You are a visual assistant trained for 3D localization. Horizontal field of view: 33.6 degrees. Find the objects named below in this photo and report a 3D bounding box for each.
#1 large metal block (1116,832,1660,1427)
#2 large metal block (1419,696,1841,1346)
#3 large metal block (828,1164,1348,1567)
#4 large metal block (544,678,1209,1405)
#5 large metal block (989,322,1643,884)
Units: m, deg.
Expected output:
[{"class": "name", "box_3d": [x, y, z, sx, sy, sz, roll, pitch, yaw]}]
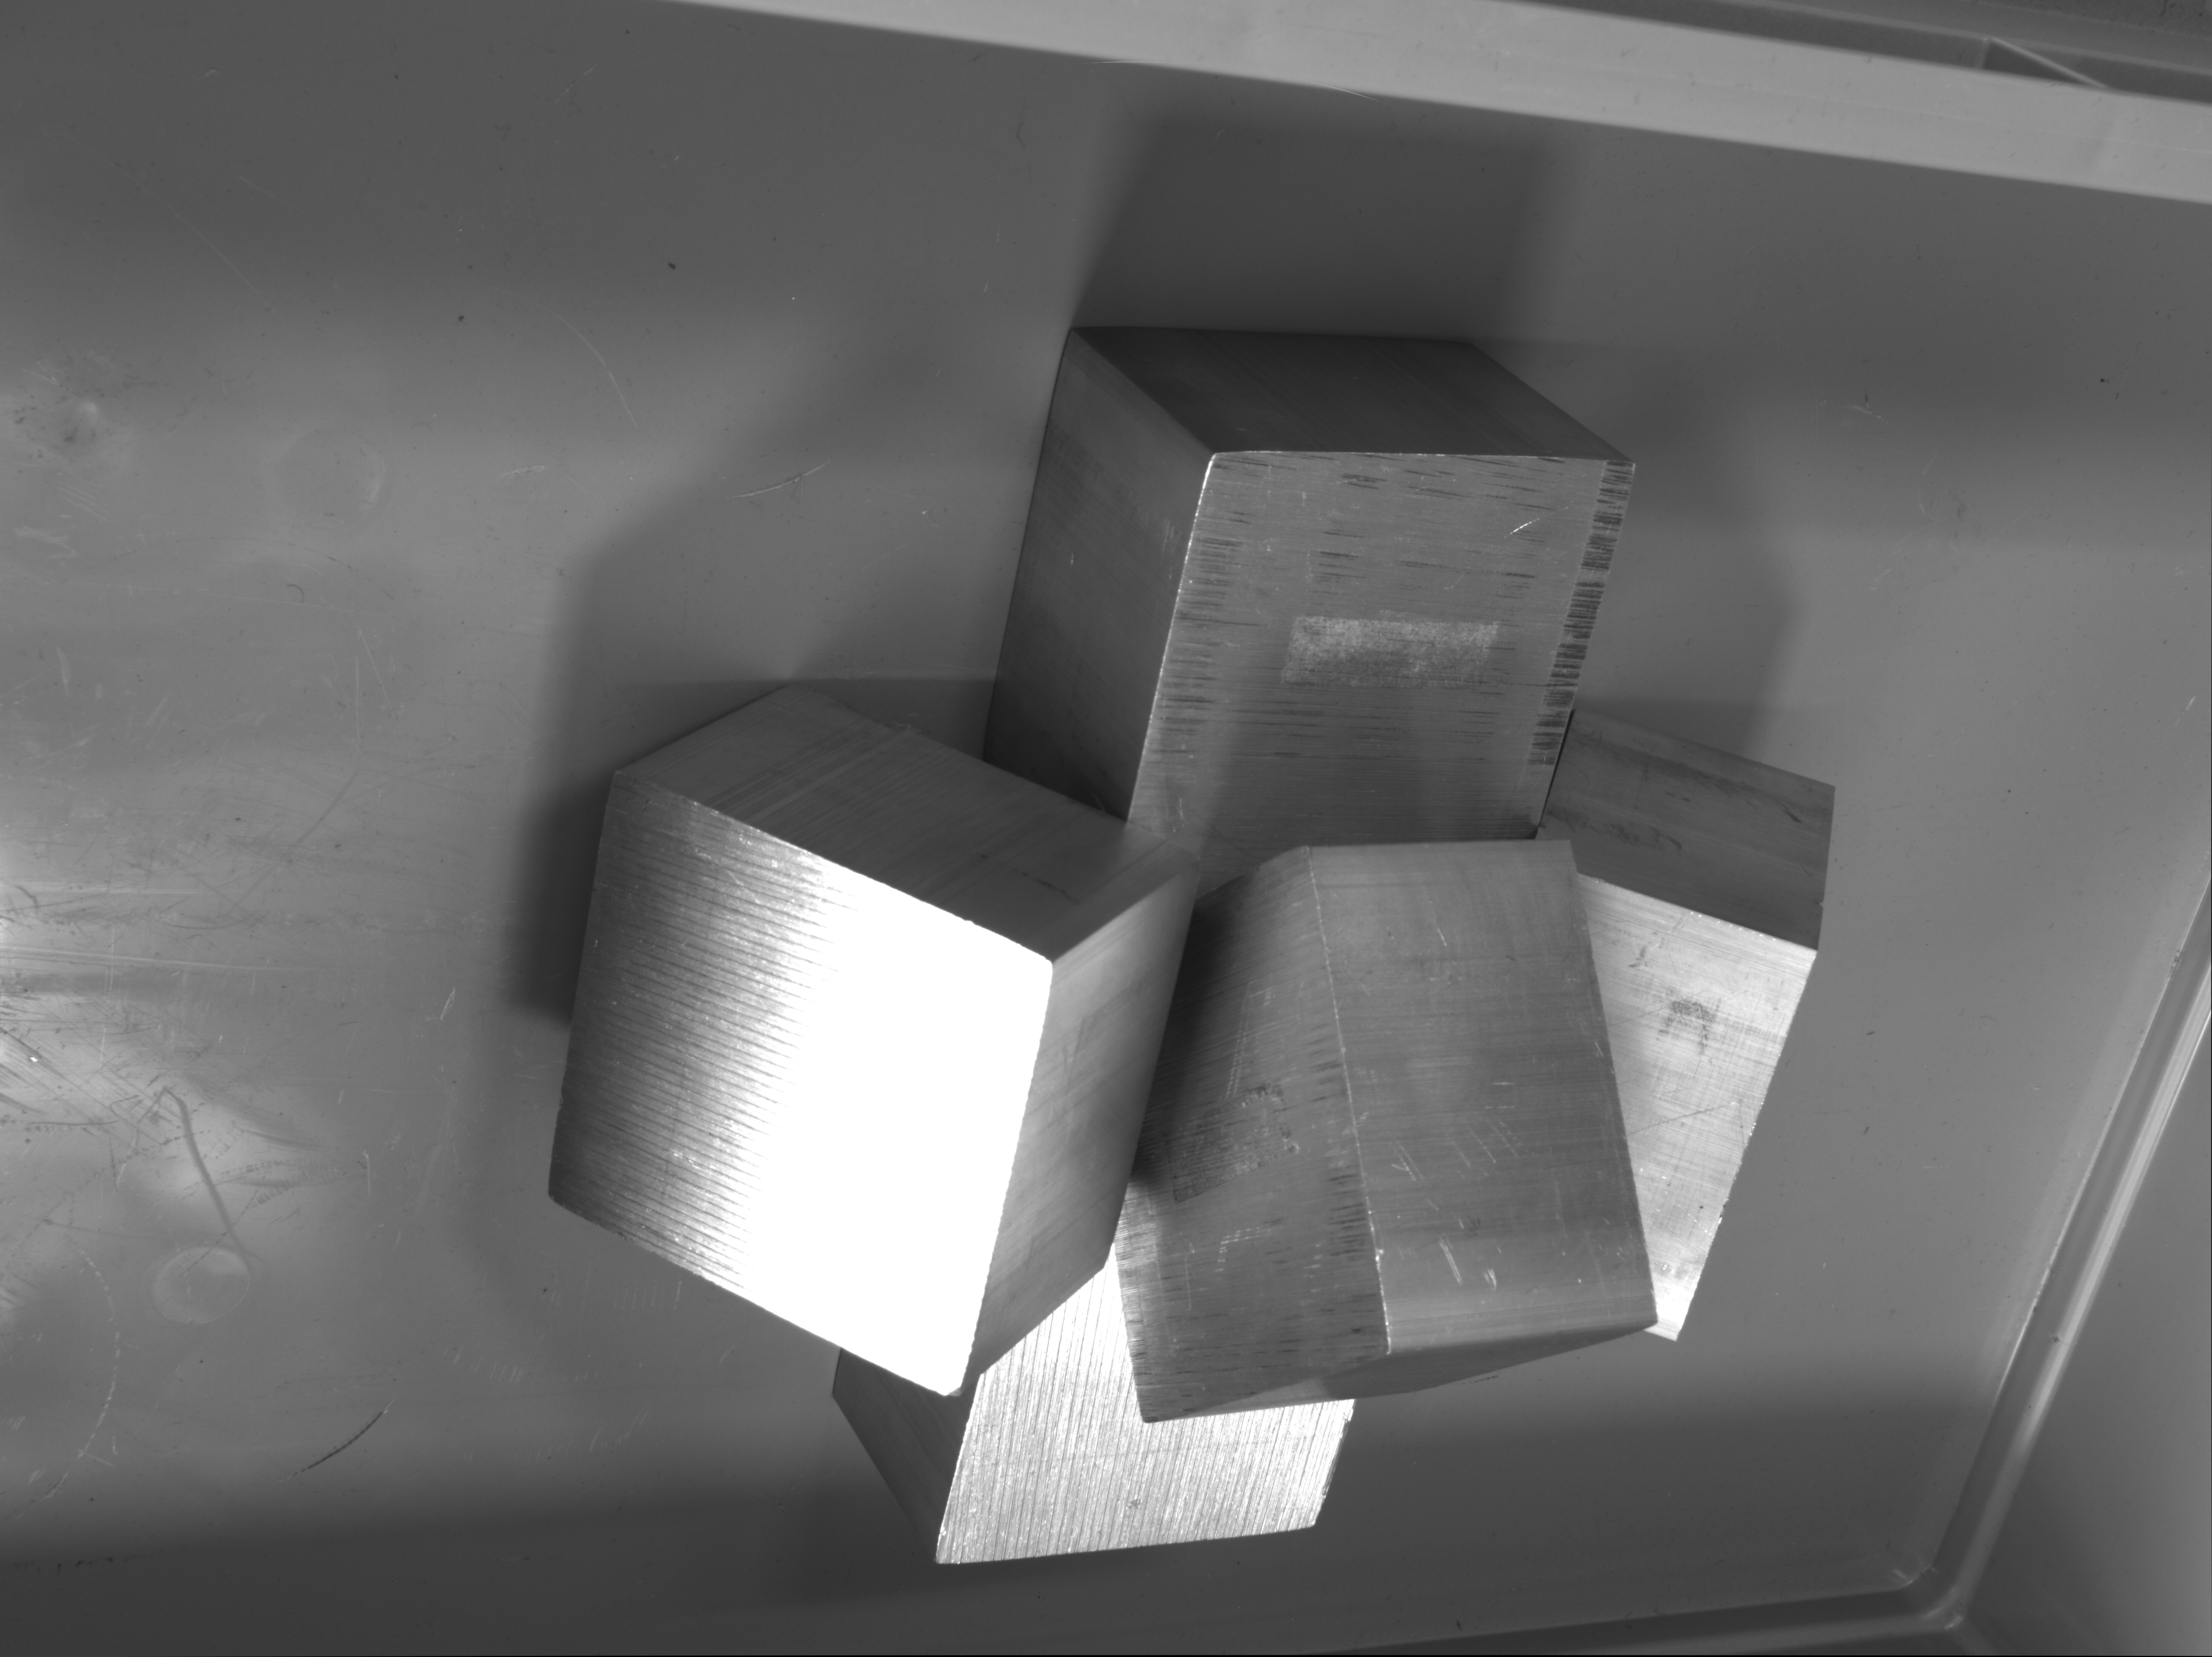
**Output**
[{"class": "large metal block", "box_3d": [0.040, 0.050, 0.602, 0.050, 0.080, 0.080, -1, 75, -29]}, {"class": "large metal block", "box_3d": [0.094, 0.033, 0.662, 0.050, 0.080, 0.080, 18, 115, 6]}, {"class": "large metal block", "box_3d": [0.003, 0.084, 0.673, 0.080, 0.050, 0.080, 1, 118, -29]}, {"class": "large metal block", "box_3d": [-0.038, 0.033, 0.590, 0.050, 0.080, 0.080, -33, 141, -56]}, {"class": "large metal block", "box_3d": [0.033, -0.036, 0.613, 0.080, 0.050, 0.080, -2, 119, -27]}]
